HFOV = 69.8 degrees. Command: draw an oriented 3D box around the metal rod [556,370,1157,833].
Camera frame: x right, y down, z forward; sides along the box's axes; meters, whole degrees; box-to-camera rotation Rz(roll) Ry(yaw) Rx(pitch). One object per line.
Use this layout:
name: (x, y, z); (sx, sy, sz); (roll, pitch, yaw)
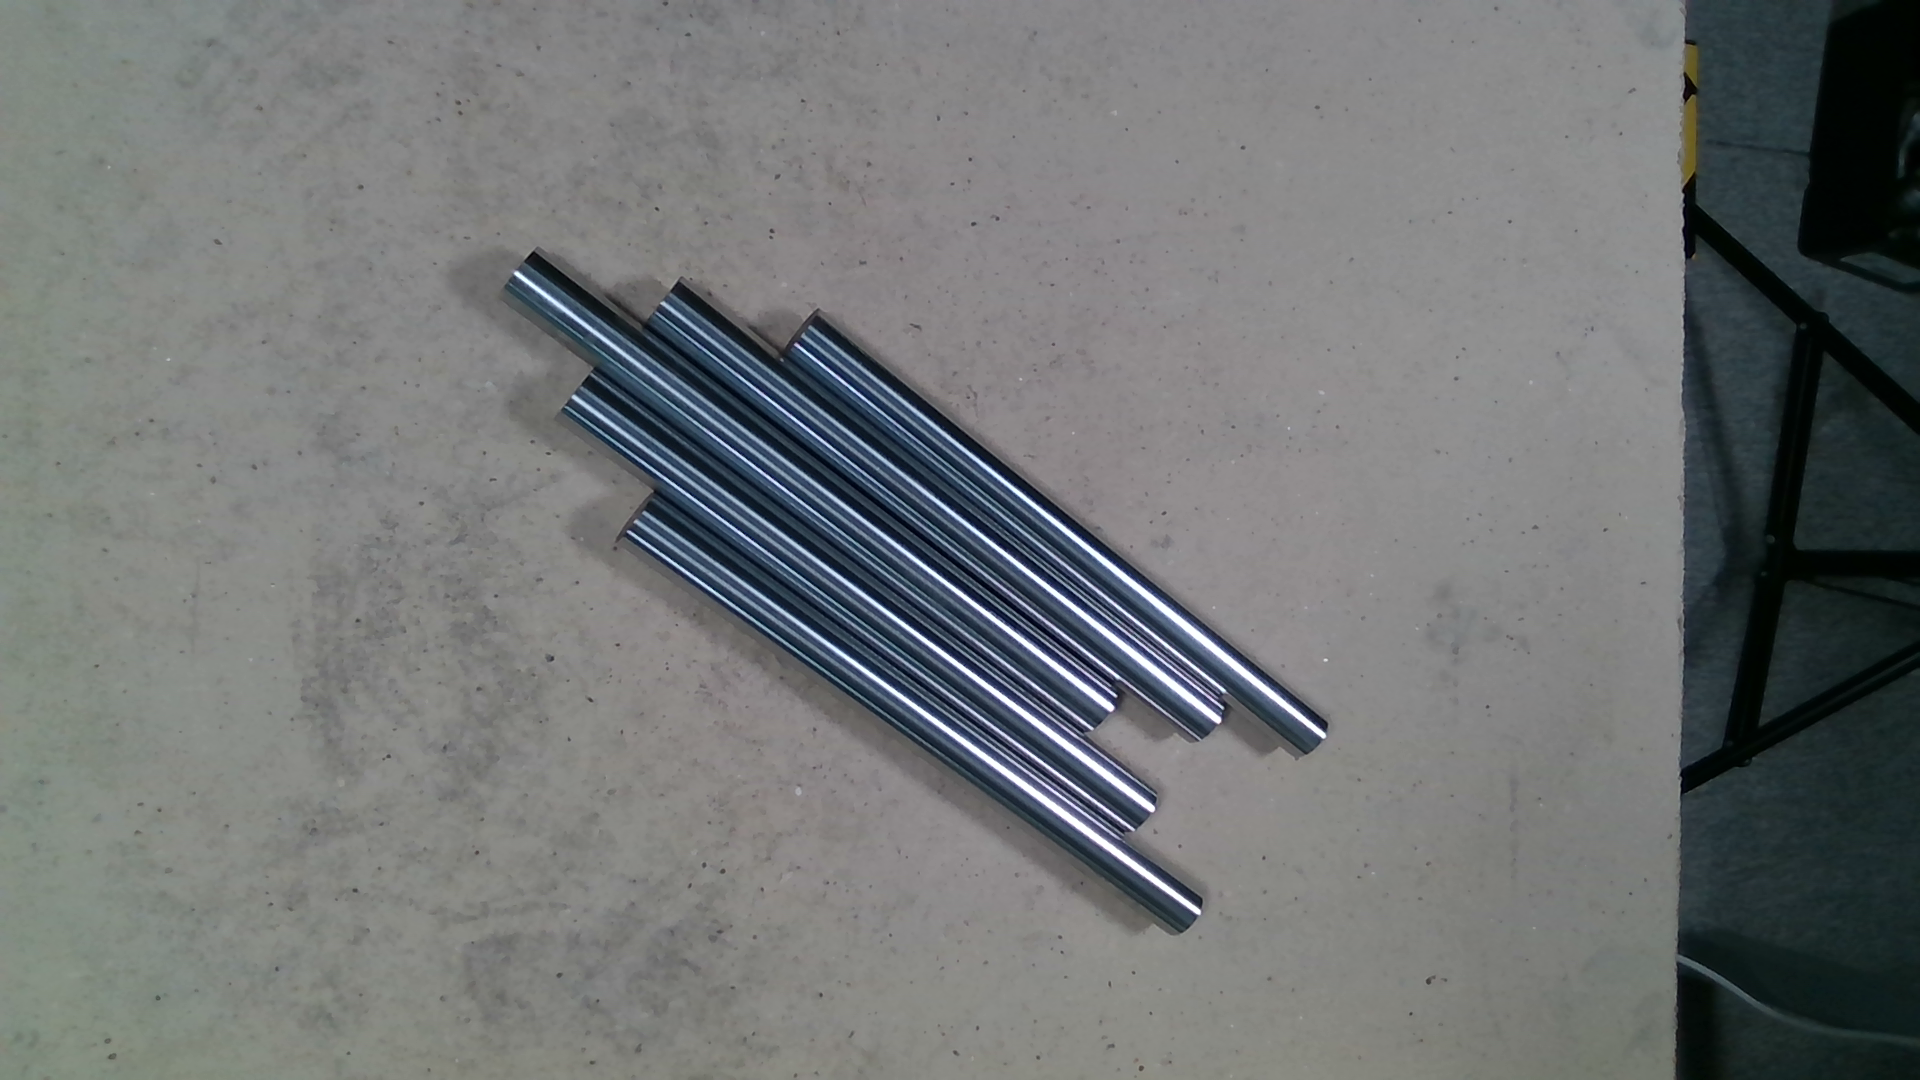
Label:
metal rod: (-0.035, 0.032, 0.573); (0.300, 0.025, 0.025); (38, 78, -16)

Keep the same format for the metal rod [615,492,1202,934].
metal rod: (-0.013, 0.079, 0.581); (0.300, 0.025, 0.025); (38, 78, -16)

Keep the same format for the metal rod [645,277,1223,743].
metal rod: (-0.003, -0.006, 0.585); (0.300, 0.025, 0.025); (38, 78, -16)

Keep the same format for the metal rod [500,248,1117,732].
metal rod: (-0.053, -0.013, 0.566); (0.300, 0.025, 0.025); (38, 78, -16)

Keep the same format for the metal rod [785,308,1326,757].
metal rod: (0.048, 0.003, 0.604); (0.300, 0.025, 0.025); (38, 78, -16)
